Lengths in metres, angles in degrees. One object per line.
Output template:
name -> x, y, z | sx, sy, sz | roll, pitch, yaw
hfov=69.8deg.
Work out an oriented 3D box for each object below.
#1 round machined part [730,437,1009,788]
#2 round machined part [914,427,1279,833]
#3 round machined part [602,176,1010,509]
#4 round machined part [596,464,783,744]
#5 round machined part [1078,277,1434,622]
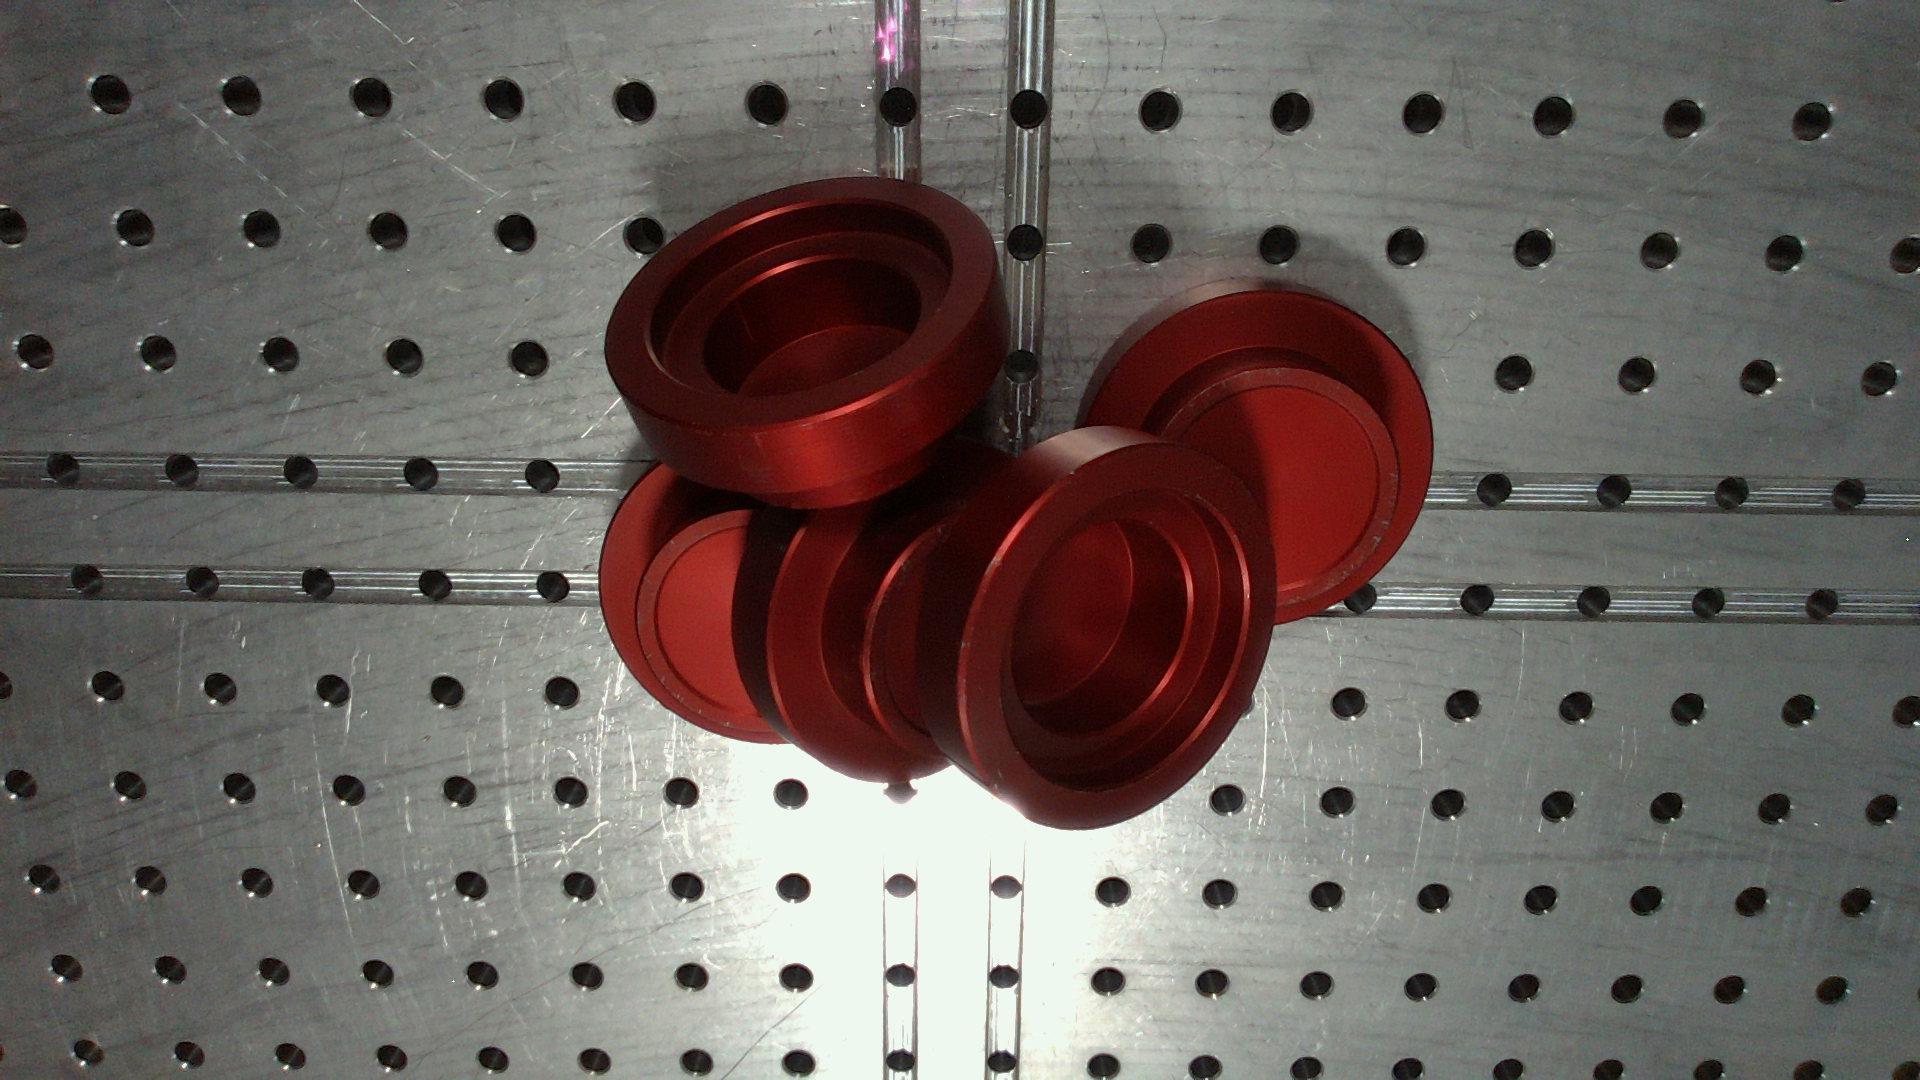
round machined part -> -0.008, 0.021, 0.370 | 0.098, 0.042, 0.098 | -12, 110, -35
round machined part -> 0.030, 0.019, 0.343 | 0.098, 0.042, 0.098 | -12, 112, -31
round machined part -> -0.035, -0.046, 0.346 | 0.098, 0.098, 0.042 | -12, 135, 4
round machined part -> -0.055, 0.016, 0.393 | 0.098, 0.042, 0.098 | 0, 110, 0
round machined part -> 0.082, -0.020, 0.380 | 0.098, 0.042, 0.098 | 0, 110, 0
